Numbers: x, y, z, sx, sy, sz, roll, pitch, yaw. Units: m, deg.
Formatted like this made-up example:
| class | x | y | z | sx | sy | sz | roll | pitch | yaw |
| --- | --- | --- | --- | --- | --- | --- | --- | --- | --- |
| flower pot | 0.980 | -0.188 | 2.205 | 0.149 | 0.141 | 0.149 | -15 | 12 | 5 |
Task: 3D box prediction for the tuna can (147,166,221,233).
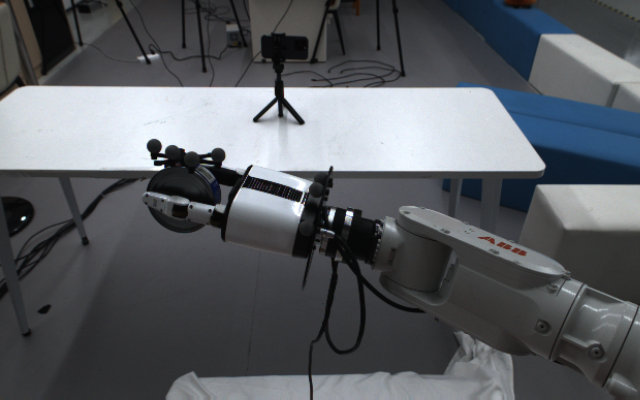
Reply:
| class | x | y | z | sx | sy | sz | roll | pitch | yaw |
| --- | --- | --- | --- | --- | --- | --- | --- | --- | --- |
| tuna can | -0.167 | -0.004 | 0.601 | 0.085 | 0.085 | 0.034 | 6 | 17 | 5 |
